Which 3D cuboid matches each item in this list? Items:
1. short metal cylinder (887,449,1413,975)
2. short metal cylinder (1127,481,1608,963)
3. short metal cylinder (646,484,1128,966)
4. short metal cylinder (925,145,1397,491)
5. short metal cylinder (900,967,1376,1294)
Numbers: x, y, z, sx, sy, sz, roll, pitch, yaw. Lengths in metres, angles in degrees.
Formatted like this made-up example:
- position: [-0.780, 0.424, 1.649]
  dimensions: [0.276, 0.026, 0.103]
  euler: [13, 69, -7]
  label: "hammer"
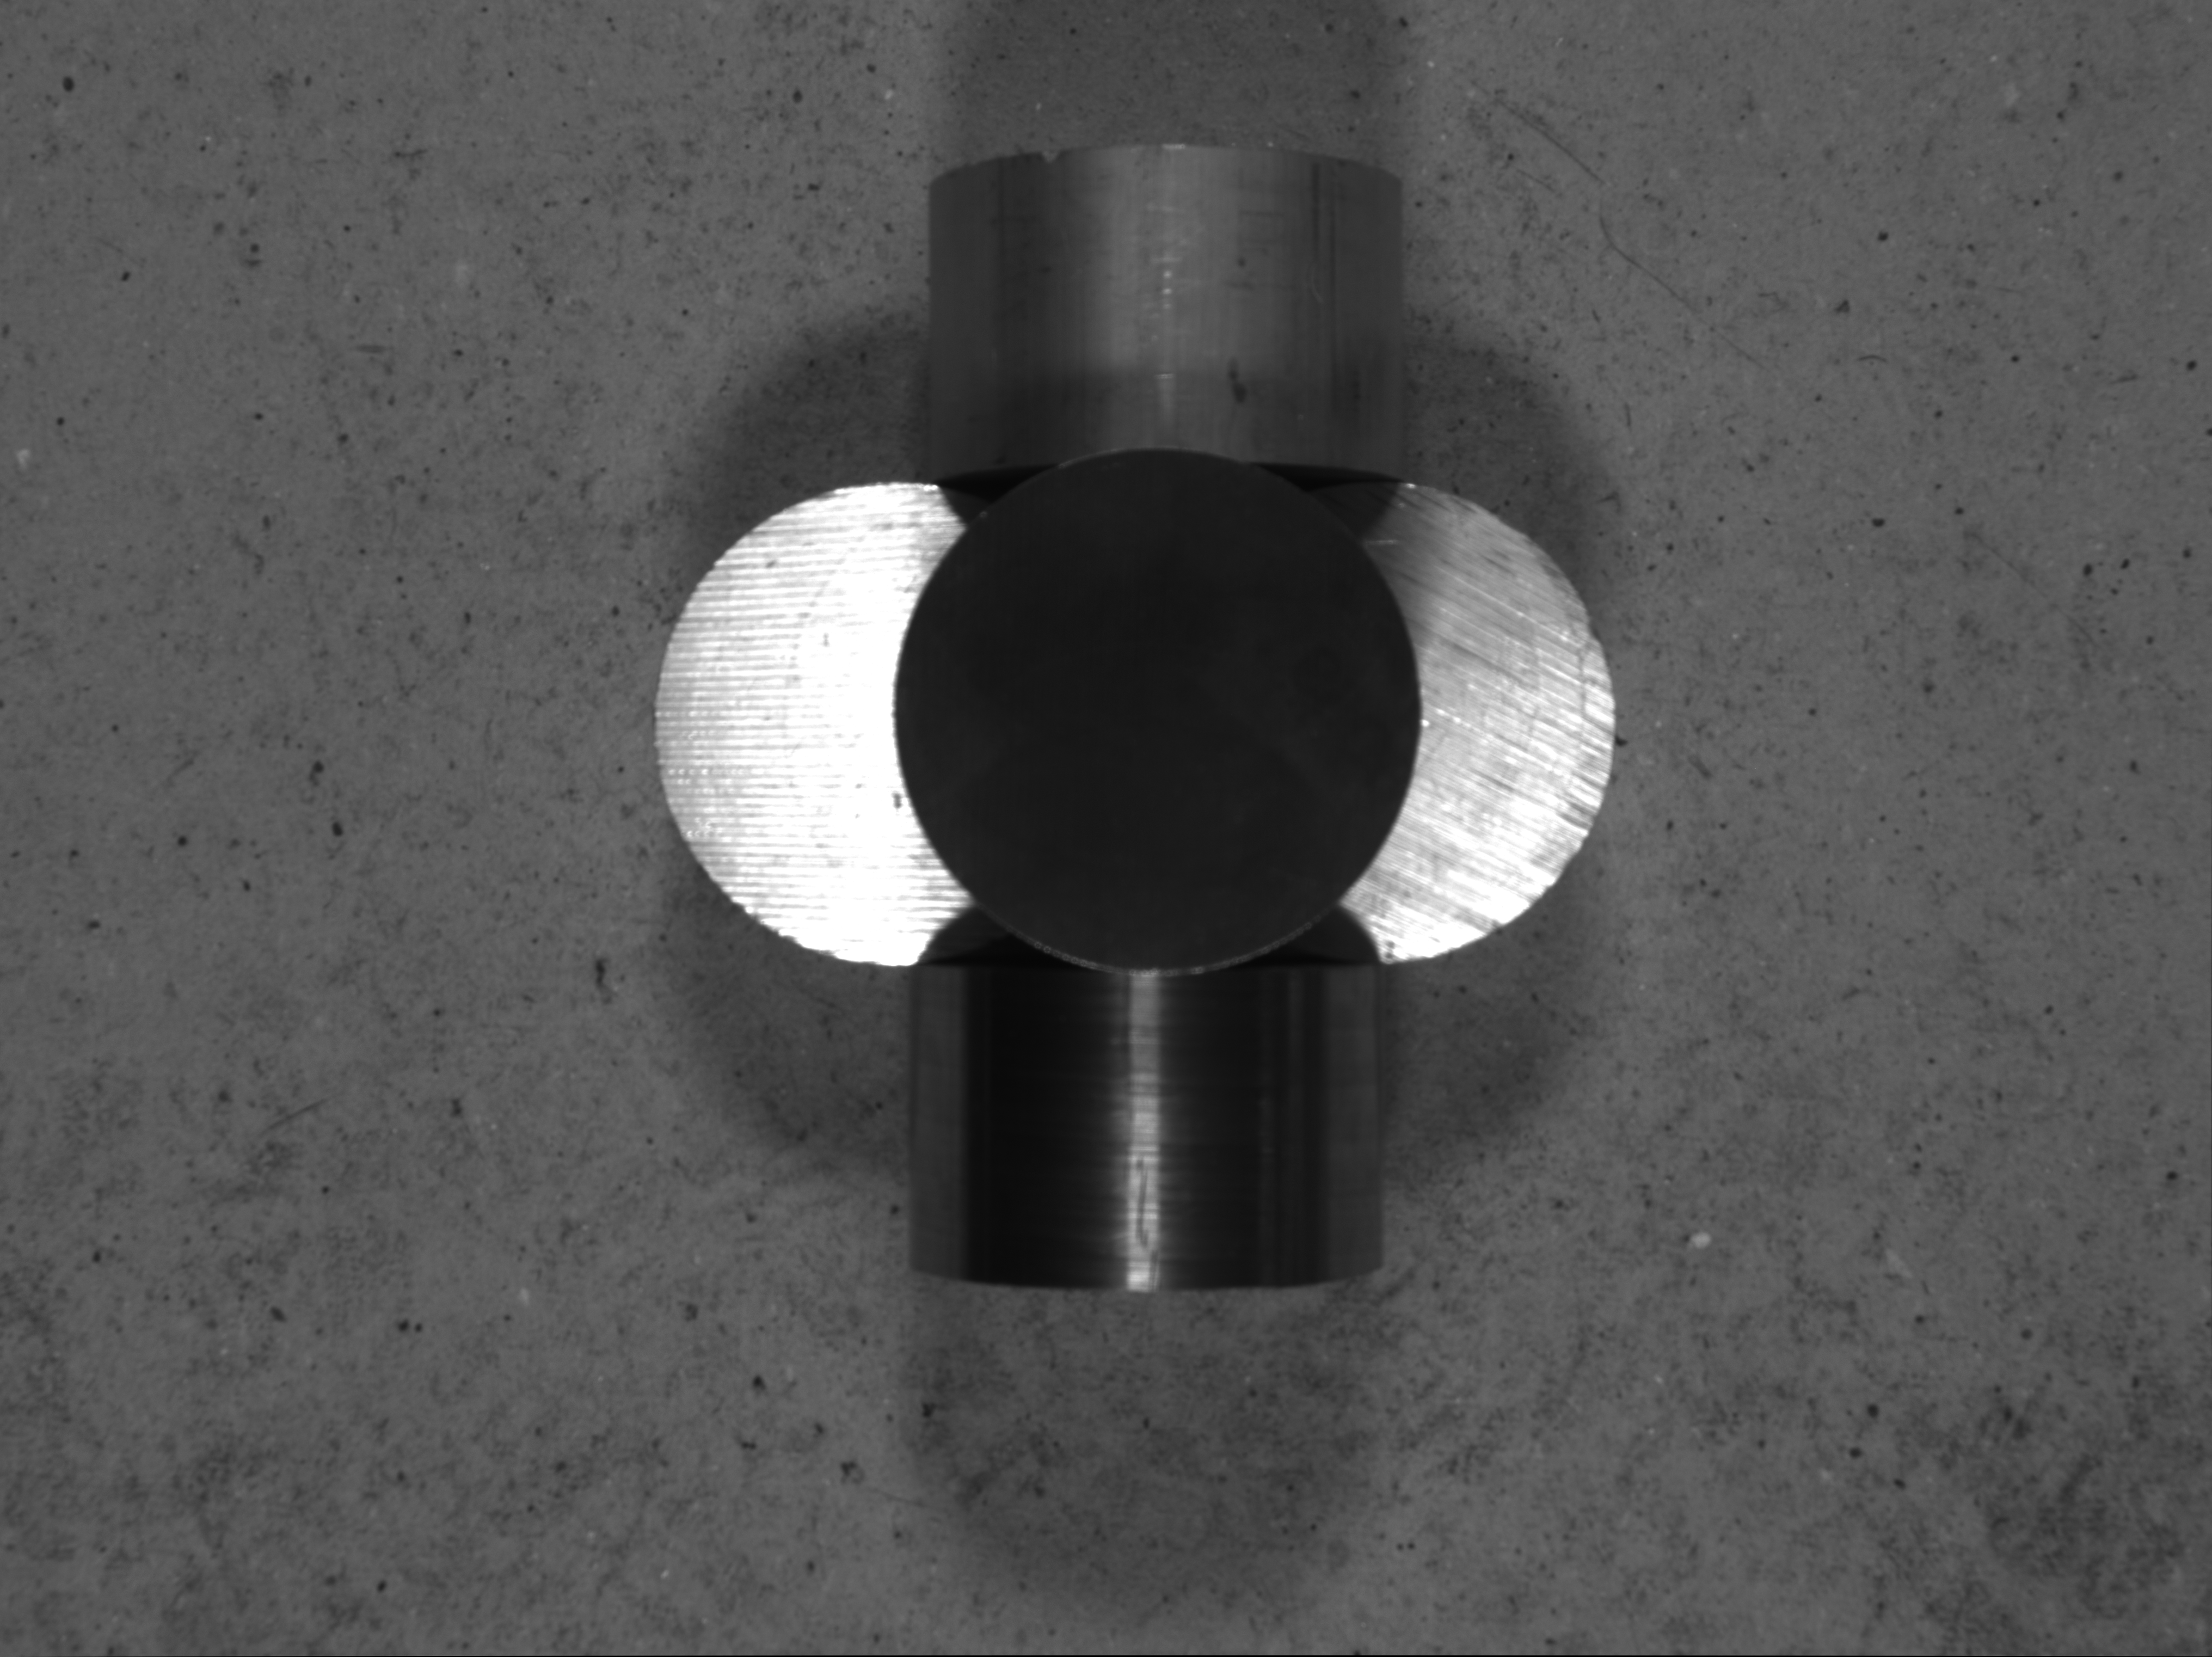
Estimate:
- position: [0.007, -0.018, 0.582]
  dimensions: [0.080, 0.050, 0.080]
  euler: [0, 90, 0]
  label: "short metal cylinder"
- position: [0.043, -0.018, 0.633]
  dimensions: [0.080, 0.050, 0.080]
  euler: [0, 90, 0]
  label: "short metal cylinder"
- position: [-0.036, -0.017, 0.632]
  dimensions: [0.080, 0.050, 0.080]
  euler: [0, 90, 0]
  label: "short metal cylinder"
- position: [0.009, -0.083, 0.618]
  dimensions: [0.080, 0.080, 0.050]
  euler: [0, 90, 0]
  label: "short metal cylinder"
- position: [0.005, 0.049, 0.618]
  dimensions: [0.080, 0.080, 0.050]
  euler: [0, 90, 0]
  label: "short metal cylinder"
